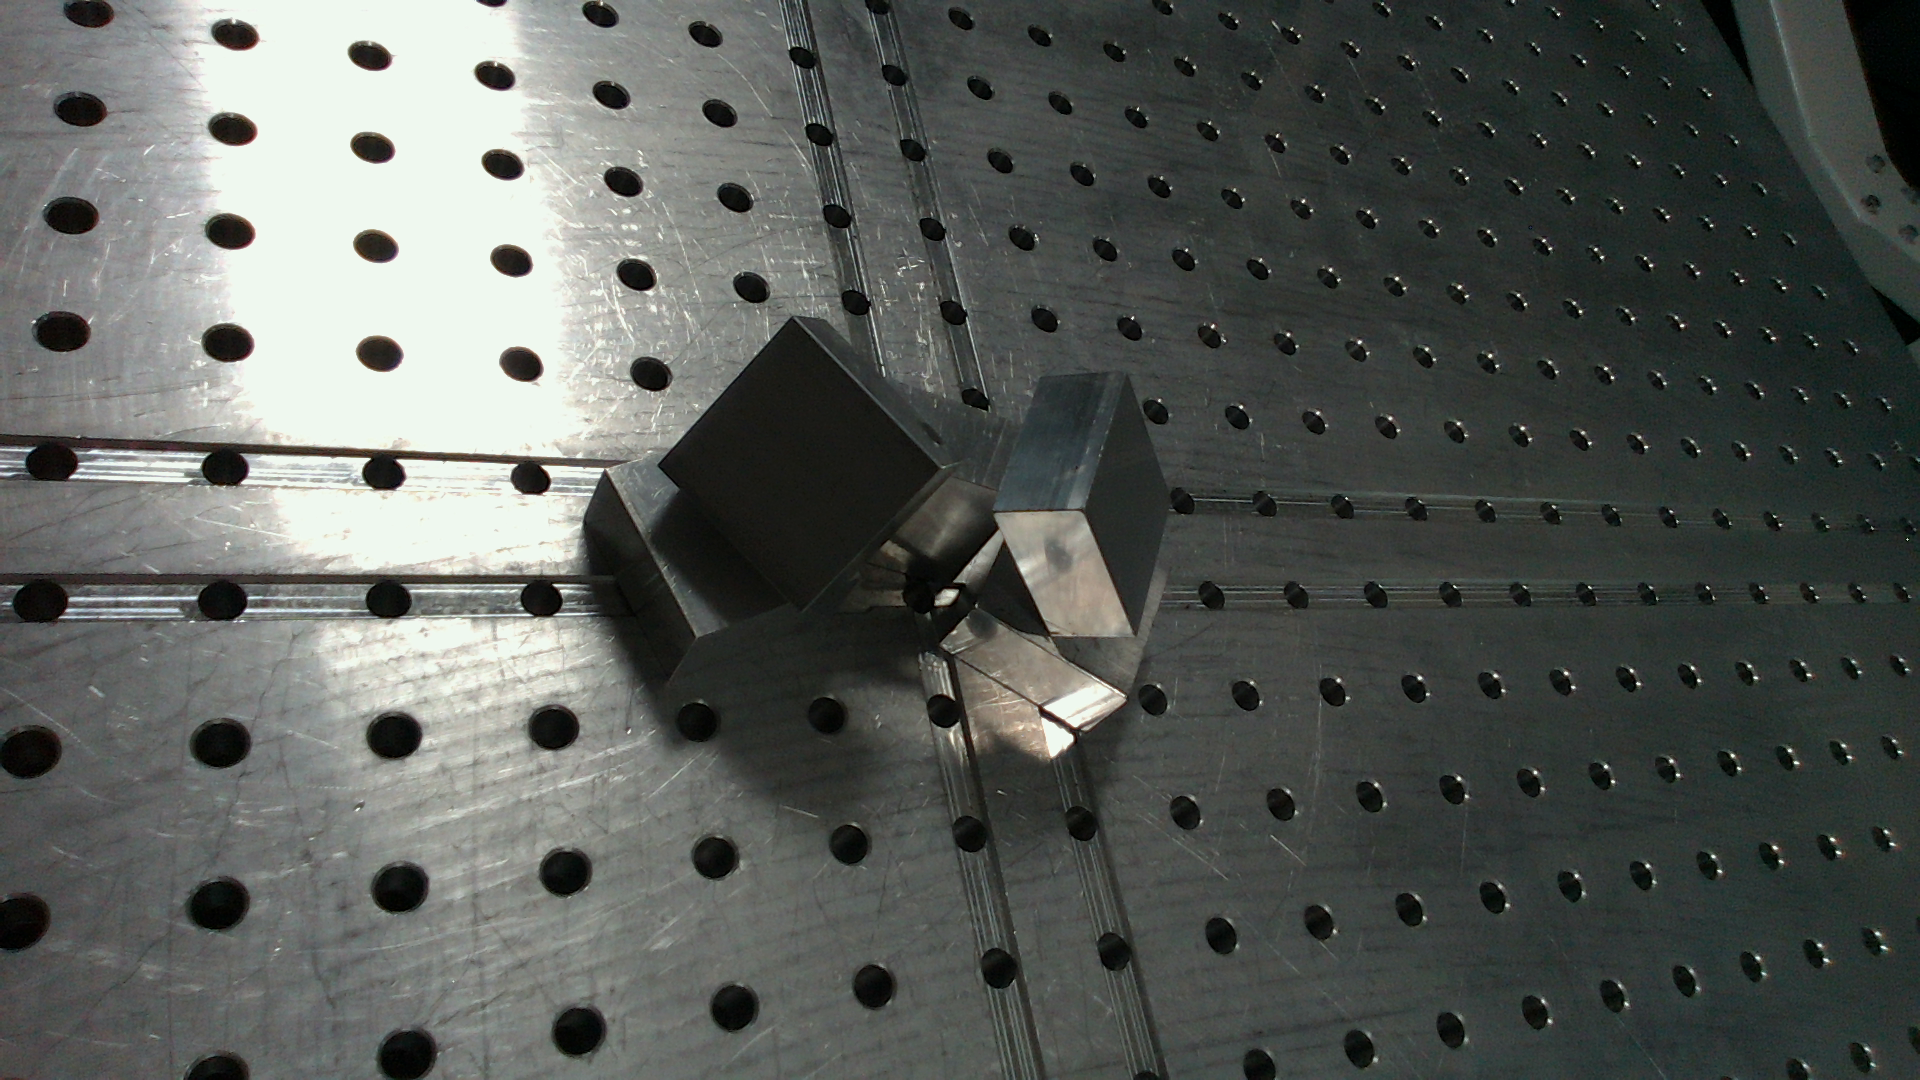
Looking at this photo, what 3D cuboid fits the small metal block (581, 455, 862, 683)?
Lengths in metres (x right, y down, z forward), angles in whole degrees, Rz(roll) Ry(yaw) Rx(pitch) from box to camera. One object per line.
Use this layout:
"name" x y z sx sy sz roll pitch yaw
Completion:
"small metal block" -0.062 0.002 0.358 0.050 0.025 0.050 -21 73 -36

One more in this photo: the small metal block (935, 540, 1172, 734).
"small metal block" 0.028 0.019 0.396 0.050 0.025 0.050 31 52 -8

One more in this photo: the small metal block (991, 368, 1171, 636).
"small metal block" 0.034 -0.010 0.367 0.050 0.025 0.050 63 35 -42

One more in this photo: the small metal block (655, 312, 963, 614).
"small metal block" -0.036 -0.019 0.333 0.050 0.050 0.025 45 13 3

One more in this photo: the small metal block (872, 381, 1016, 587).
"small metal block" -0.015 -0.016 0.378 0.050 0.050 0.025 17 55 -18
